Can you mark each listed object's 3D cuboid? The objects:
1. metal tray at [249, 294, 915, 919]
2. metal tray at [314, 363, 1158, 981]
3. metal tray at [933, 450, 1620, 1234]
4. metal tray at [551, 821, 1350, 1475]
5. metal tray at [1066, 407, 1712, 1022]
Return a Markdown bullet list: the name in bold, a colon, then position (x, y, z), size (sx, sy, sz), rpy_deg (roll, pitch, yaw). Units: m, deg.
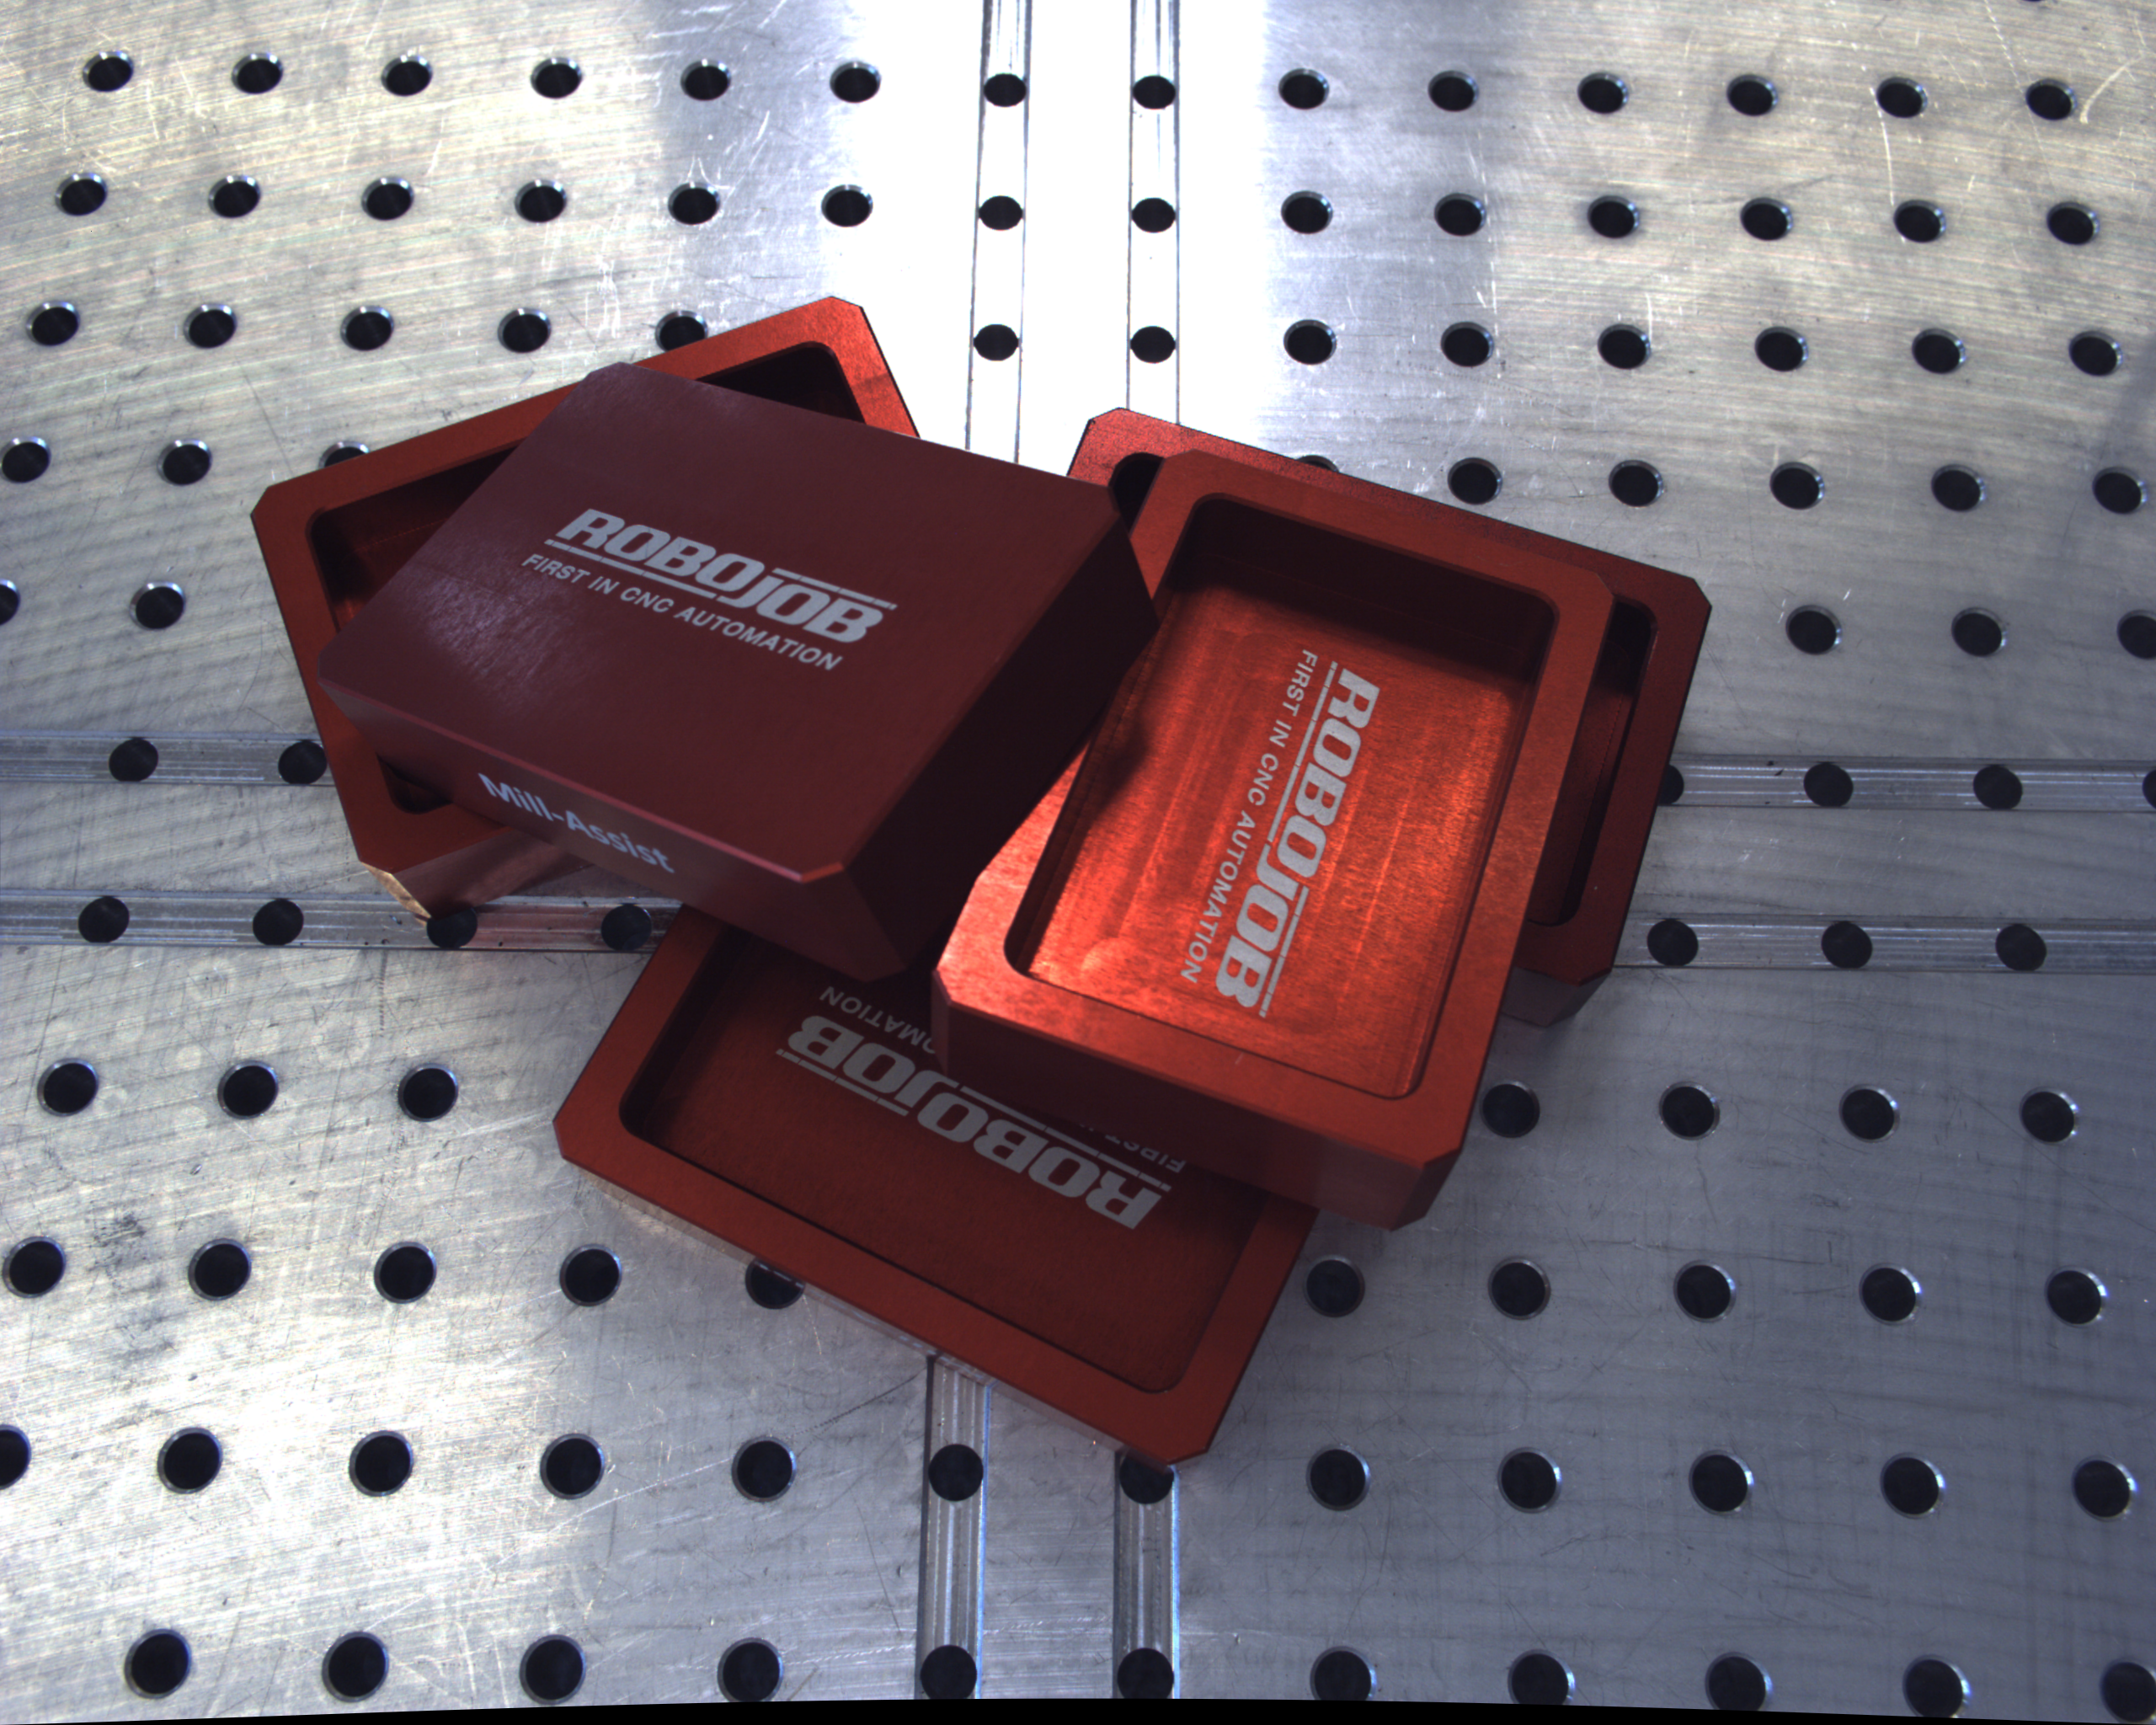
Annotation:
- **metal tray**: position (-0.091, -0.054, 0.428), size (0.131, 0.030, 0.090), rpy_deg (-21, 71, -7)
- **metal tray**: position (-0.063, -0.040, 0.380), size (0.130, 0.030, 0.090), rpy_deg (20, 62, 30)
- **metal tray**: position (0.038, -0.009, 0.379), size (0.090, 0.030, 0.130), rpy_deg (19, 60, 7)
- **metal tray**: position (-0.019, 0.045, 0.392), size (0.130, 0.030, 0.090), rpy_deg (25, 72, 9)
- **metal tray**: position (0.050, -0.031, 0.420), size (0.130, 0.030, 0.090), rpy_deg (18, 71, 7)
